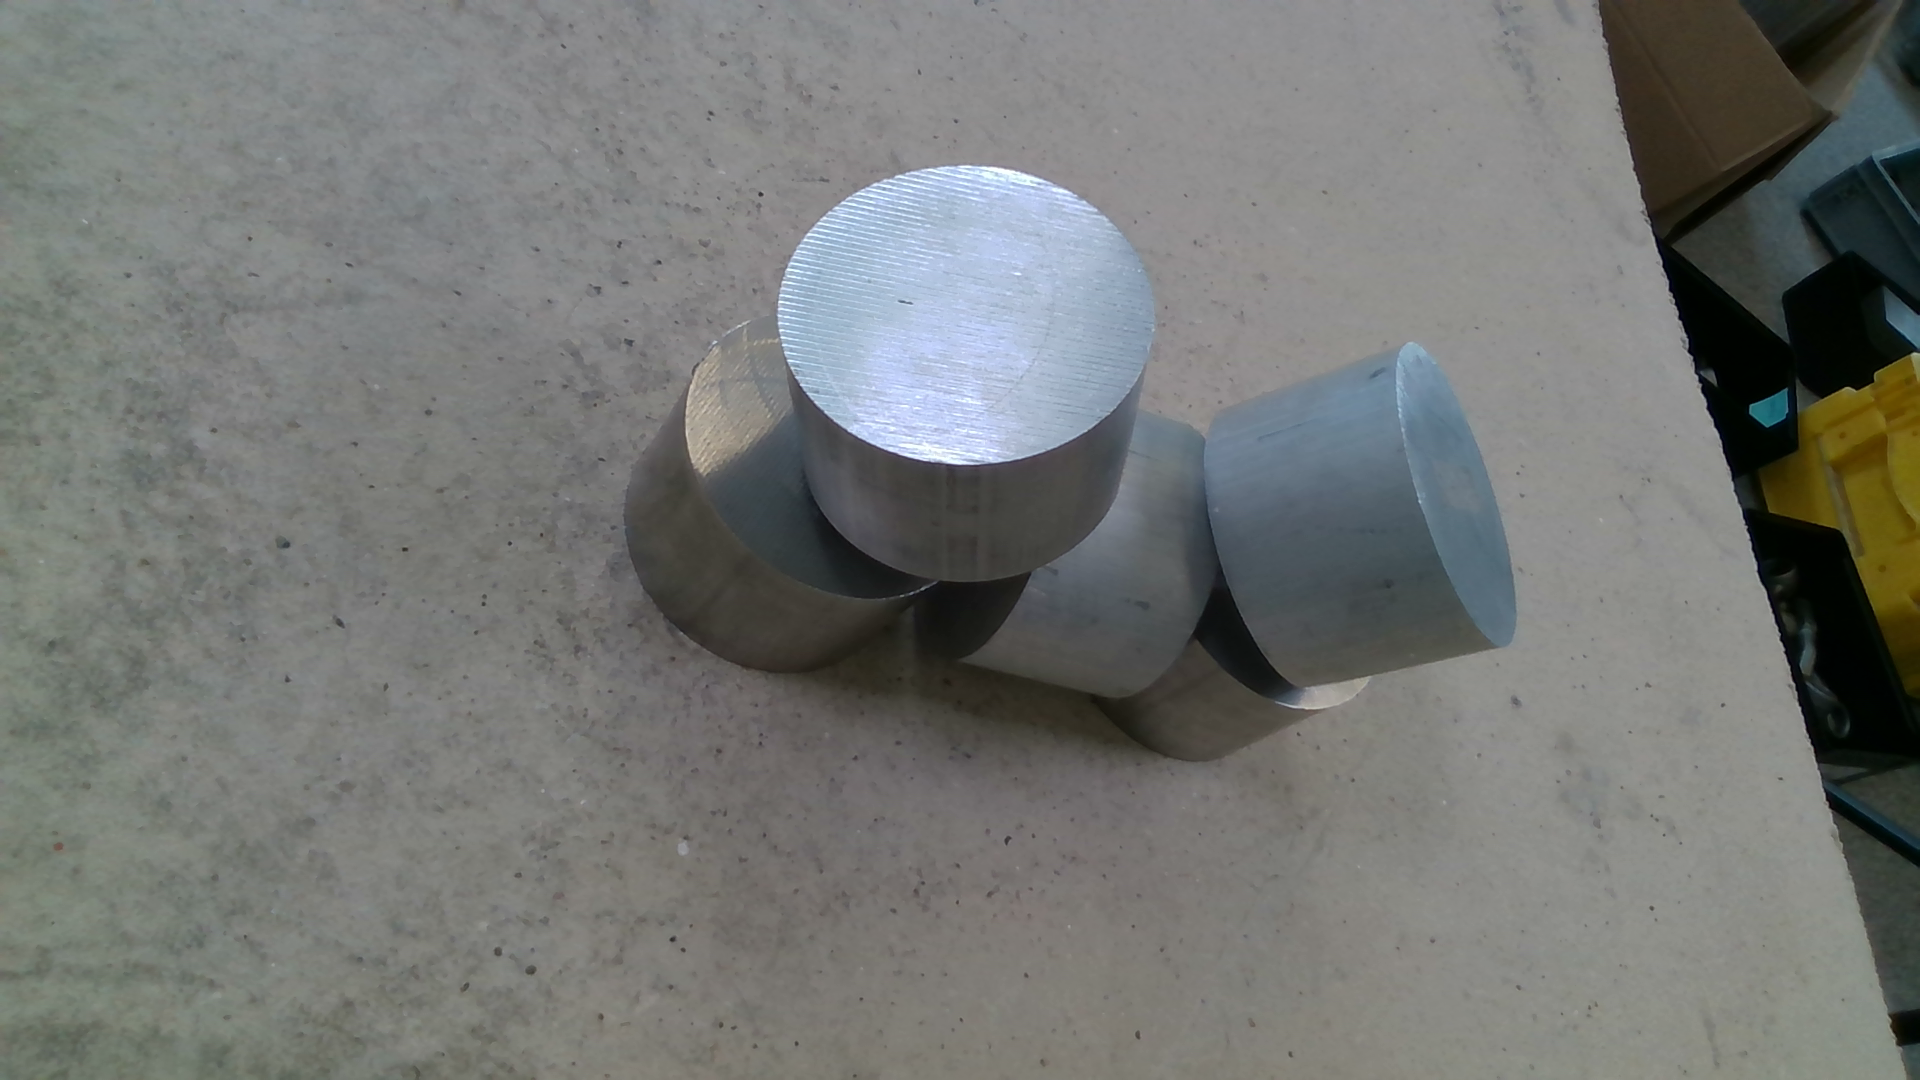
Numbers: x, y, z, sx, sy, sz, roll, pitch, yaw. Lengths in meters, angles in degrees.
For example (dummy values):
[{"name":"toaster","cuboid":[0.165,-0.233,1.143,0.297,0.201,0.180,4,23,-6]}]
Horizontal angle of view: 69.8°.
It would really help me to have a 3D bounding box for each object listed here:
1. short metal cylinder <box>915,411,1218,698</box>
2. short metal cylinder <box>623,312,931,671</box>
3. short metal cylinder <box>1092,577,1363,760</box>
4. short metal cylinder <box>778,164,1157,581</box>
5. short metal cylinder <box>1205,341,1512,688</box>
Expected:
[{"name":"short metal cylinder","cuboid":[0.027,-0.001,0.376,0.050,0.080,0.080,16,58,-24]},{"name":"short metal cylinder","cuboid":[-0.041,-0.012,0.359,0.080,0.050,0.080,14,59,-25]},{"name":"short metal cylinder","cuboid":[0.078,0.020,0.415,0.080,0.050,0.080,14,59,-25]},{"name":"short metal cylinder","cuboid":[0.001,-0.038,0.313,0.080,0.050,0.080,0,61,-1]},{"name":"short metal cylinder","cuboid":[0.106,-0.006,0.362,0.080,0.050,0.080,32,49,-46]}]
